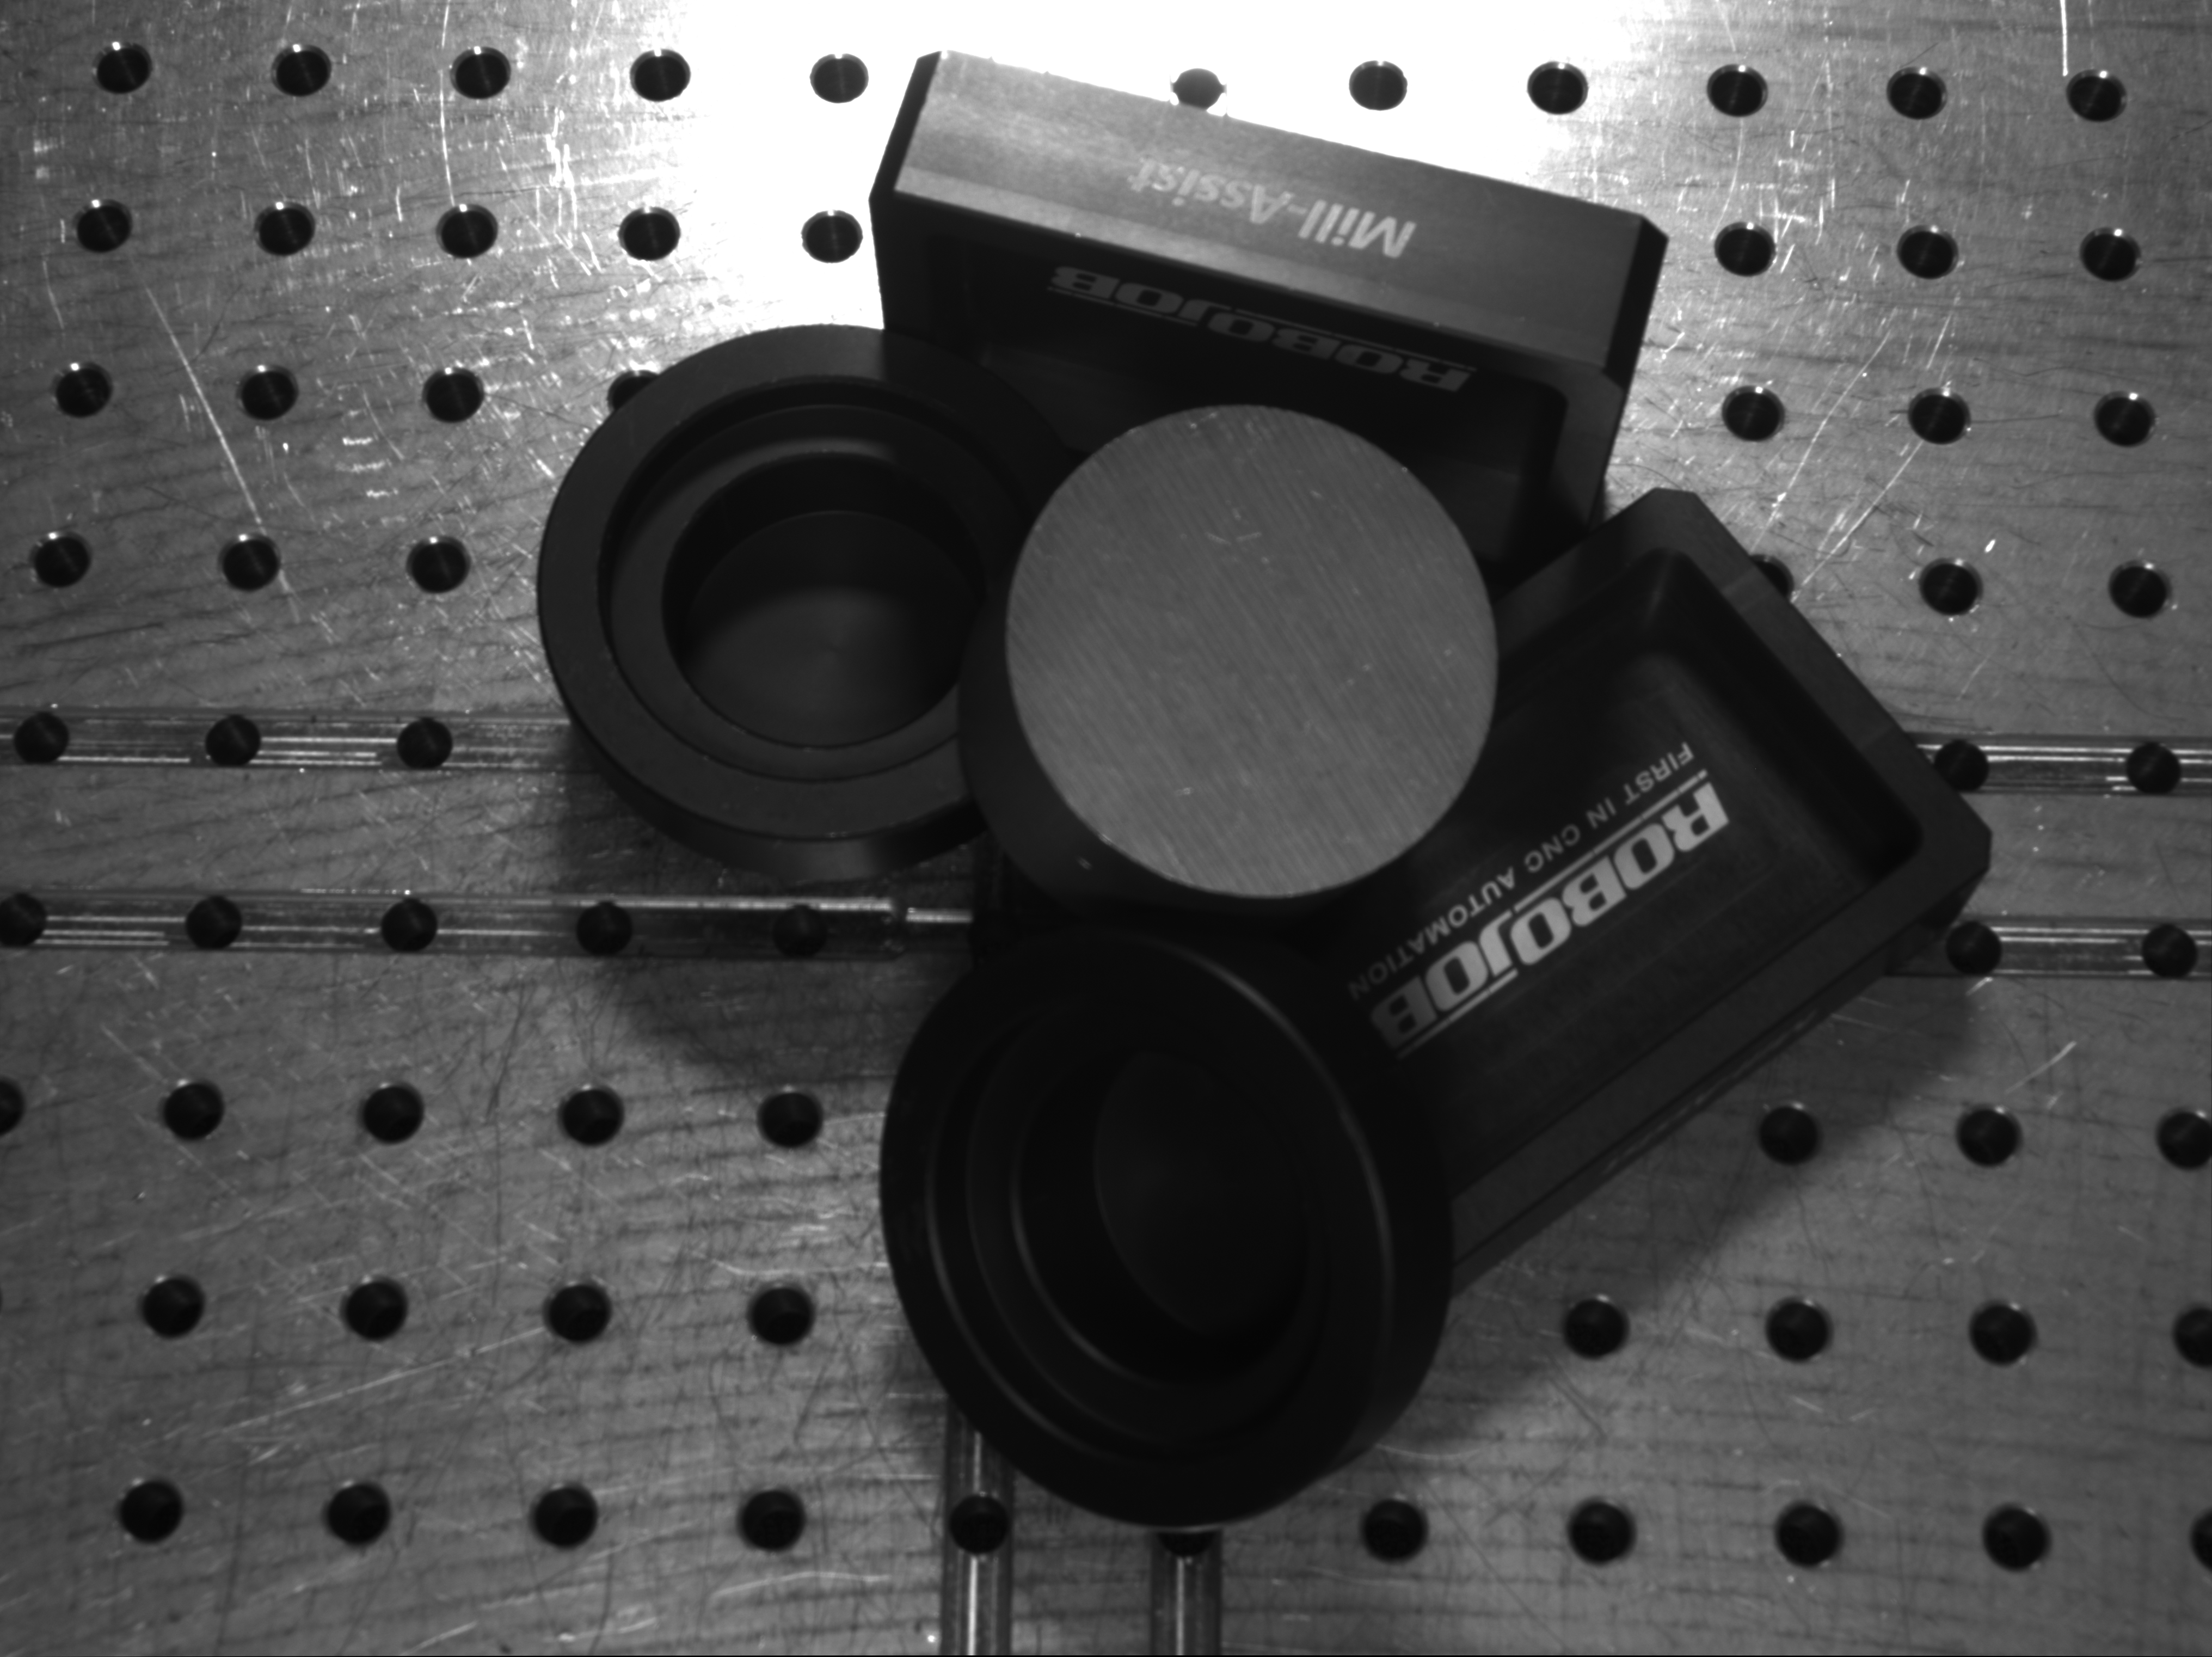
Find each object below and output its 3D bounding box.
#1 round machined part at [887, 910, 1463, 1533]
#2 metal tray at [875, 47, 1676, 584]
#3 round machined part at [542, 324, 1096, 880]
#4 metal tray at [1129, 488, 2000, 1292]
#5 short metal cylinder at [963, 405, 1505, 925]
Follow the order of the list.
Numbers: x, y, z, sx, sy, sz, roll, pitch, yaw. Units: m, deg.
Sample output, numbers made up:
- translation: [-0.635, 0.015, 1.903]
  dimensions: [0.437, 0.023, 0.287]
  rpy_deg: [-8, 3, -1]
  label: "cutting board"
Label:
- translation: [0.015, 0.061, 0.597]
  dimensions: [0.098, 0.042, 0.098]
  rpy_deg: [7, 102, 33]
  label: "round machined part"
- translation: [0.028, -0.087, 0.645]
  dimensions: [0.130, 0.090, 0.030]
  rpy_deg: [15, 70, 5]
  label: "metal tray"
- translation: [-0.048, -0.037, 0.652]
  dimensions: [0.098, 0.042, 0.098]
  rpy_deg: [0, 70, 0]
  label: "round machined part"
- translation: [0.078, 0.012, 0.640]
  dimensions: [0.130, 0.030, 0.090]
  rpy_deg: [-35, 74, -12]
  label: "metal tray"
- translation: [0.020, -0.024, 0.603]
  dimensions: [0.080, 0.050, 0.080]
  rpy_deg: [2, 78, -12]
  label: "short metal cylinder"
